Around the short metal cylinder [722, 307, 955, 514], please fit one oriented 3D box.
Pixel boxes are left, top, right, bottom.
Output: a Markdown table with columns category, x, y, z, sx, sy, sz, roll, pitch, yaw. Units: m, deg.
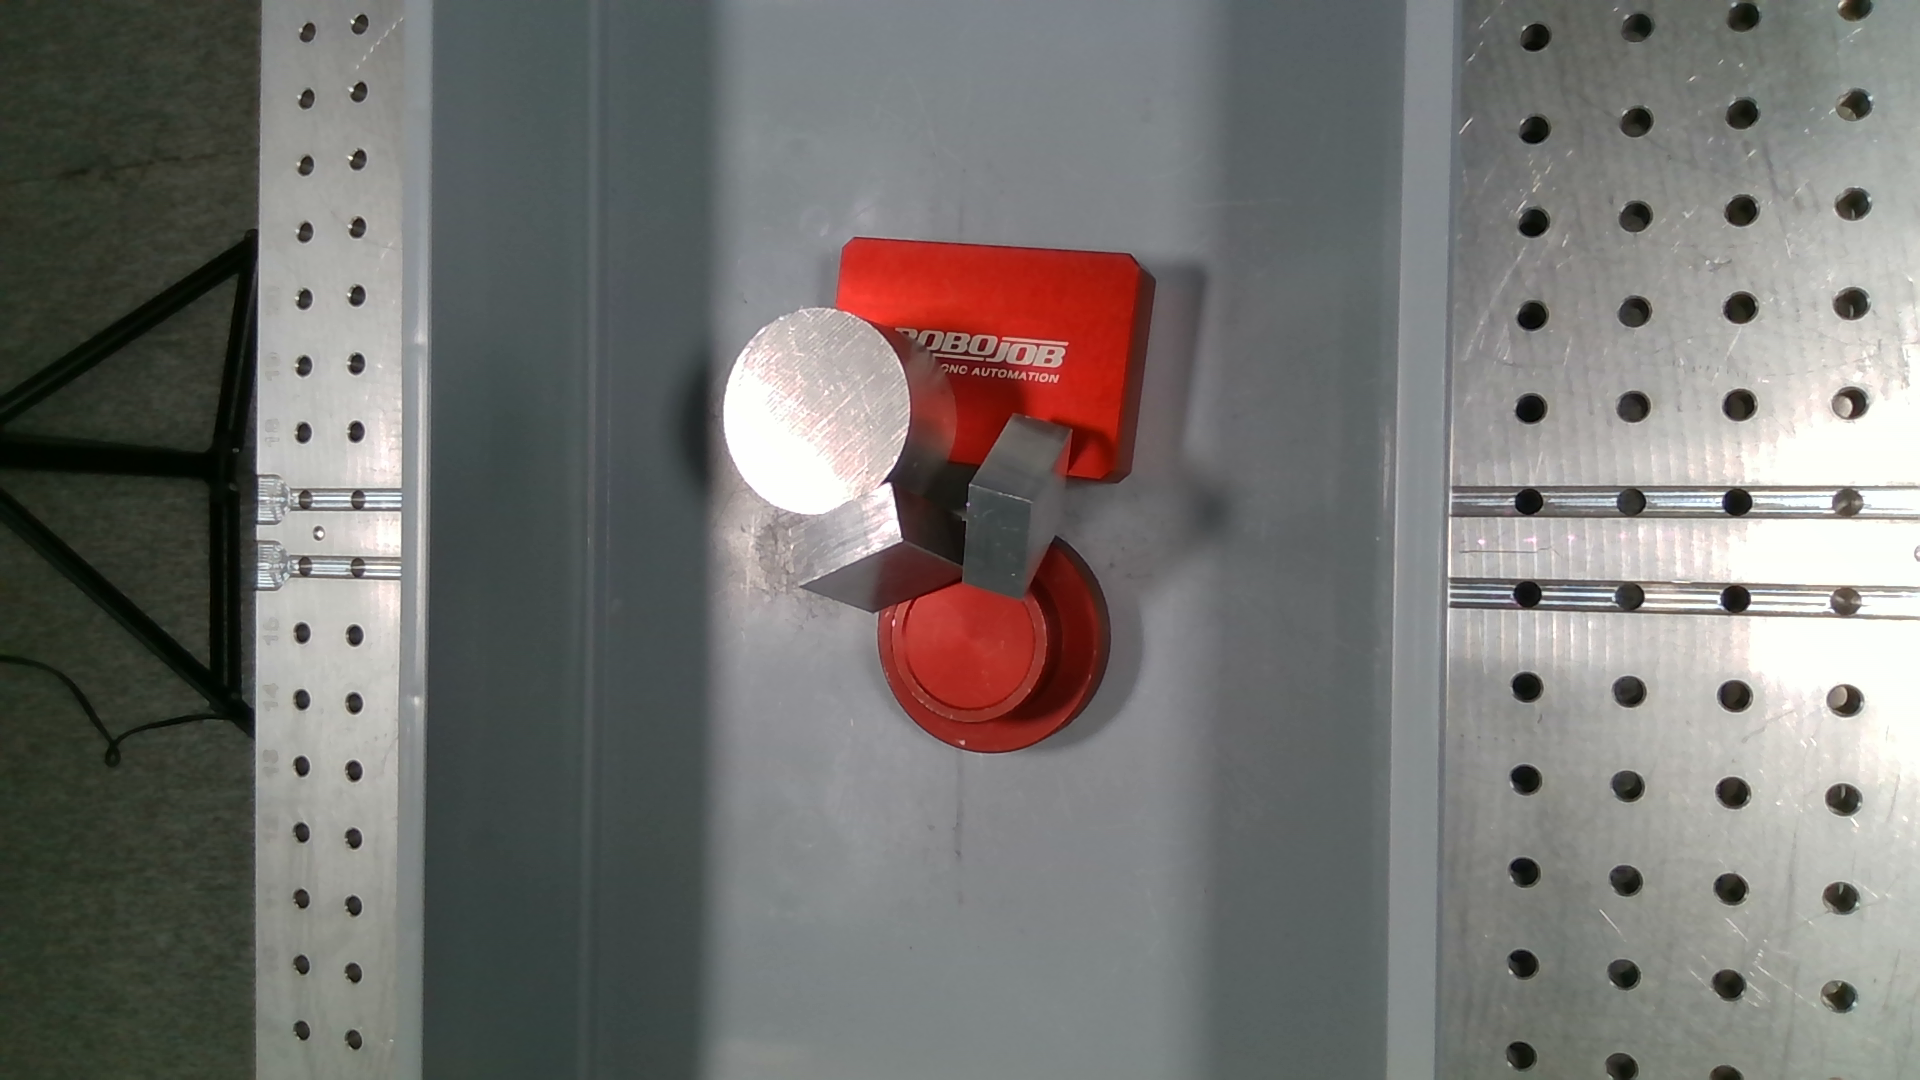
| category | x | y | z | sx | sy | sz | roll | pitch | yaw |
| --- | --- | --- | --- | --- | --- | --- | --- | --- | --- |
| short metal cylinder | -0.048 | -0.050 | 0.556 | 0.080 | 0.050 | 0.080 | 0 | 90 | 20 |

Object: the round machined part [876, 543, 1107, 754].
| category | x | y | z | sx | sy | sz | roll | pitch | yaw |
| --- | --- | --- | --- | --- | --- | --- | --- | --- | --- |
| round machined part | 0.010 | 0.040 | 0.572 | 0.098 | 0.042 | 0.098 | 0 | 91 | 20 |

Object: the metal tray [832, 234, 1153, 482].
| category | x | y | z | sx | sy | sz | roll | pitch | yaw |
| --- | --- | --- | --- | --- | --- | --- | --- | --- | --- |
| metal tray | 0.009 | -0.077 | 0.575 | 0.130 | 0.030 | 0.090 | 8 | 93 | 20 |

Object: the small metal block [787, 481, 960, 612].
| category | x | y | z | sx | sy | sz | roll | pitch | yaw |
| --- | --- | --- | --- | --- | --- | --- | --- | --- | --- |
| small metal block | -0.031 | 0.005 | 0.541 | 0.050 | 0.050 | 0.025 | -24 | 64 | 25 |

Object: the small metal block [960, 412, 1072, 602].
| category | x | y | z | sx | sy | sz | roll | pitch | yaw |
| --- | --- | --- | --- | --- | --- | --- | --- | --- | --- |
| small metal block | 0.022 | -0.013 | 0.536 | 0.025 | 0.050 | 0.050 | 16 | 132 | 14 |
